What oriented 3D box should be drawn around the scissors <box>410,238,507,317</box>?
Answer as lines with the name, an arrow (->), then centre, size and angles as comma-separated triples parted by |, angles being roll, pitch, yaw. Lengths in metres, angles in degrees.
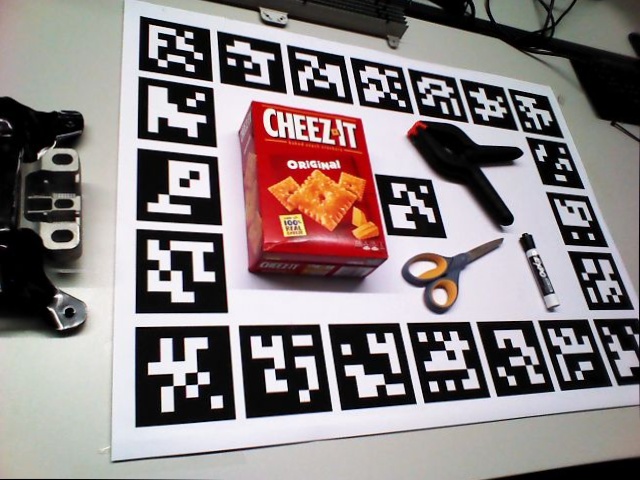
scissors -> 0.208, 0.034, 0.734 | 0.201, 0.016, 0.087 | -27, 75, -34

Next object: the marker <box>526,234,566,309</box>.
marker -> 0.341, 0.045, 0.783 | 0.019, 0.020, 0.120 | -1, 63, -23

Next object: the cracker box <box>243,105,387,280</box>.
cracker box -> -0.008, -0.061, 0.662 | 0.164, 0.072, 0.212 | 4, 62, -21

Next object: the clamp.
clamp -> 0.229, -0.128, 0.836 | 0.203, 0.037, 0.164 | 30, 55, -7
